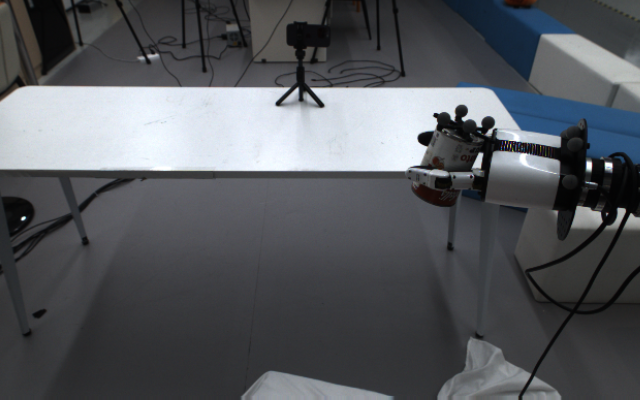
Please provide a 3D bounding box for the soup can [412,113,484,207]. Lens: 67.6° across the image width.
[{"bbox_3d":[0.177,-0.051,0.672,0.067,0.101,0.067,13,30,-8],"label":"soup can"}]
